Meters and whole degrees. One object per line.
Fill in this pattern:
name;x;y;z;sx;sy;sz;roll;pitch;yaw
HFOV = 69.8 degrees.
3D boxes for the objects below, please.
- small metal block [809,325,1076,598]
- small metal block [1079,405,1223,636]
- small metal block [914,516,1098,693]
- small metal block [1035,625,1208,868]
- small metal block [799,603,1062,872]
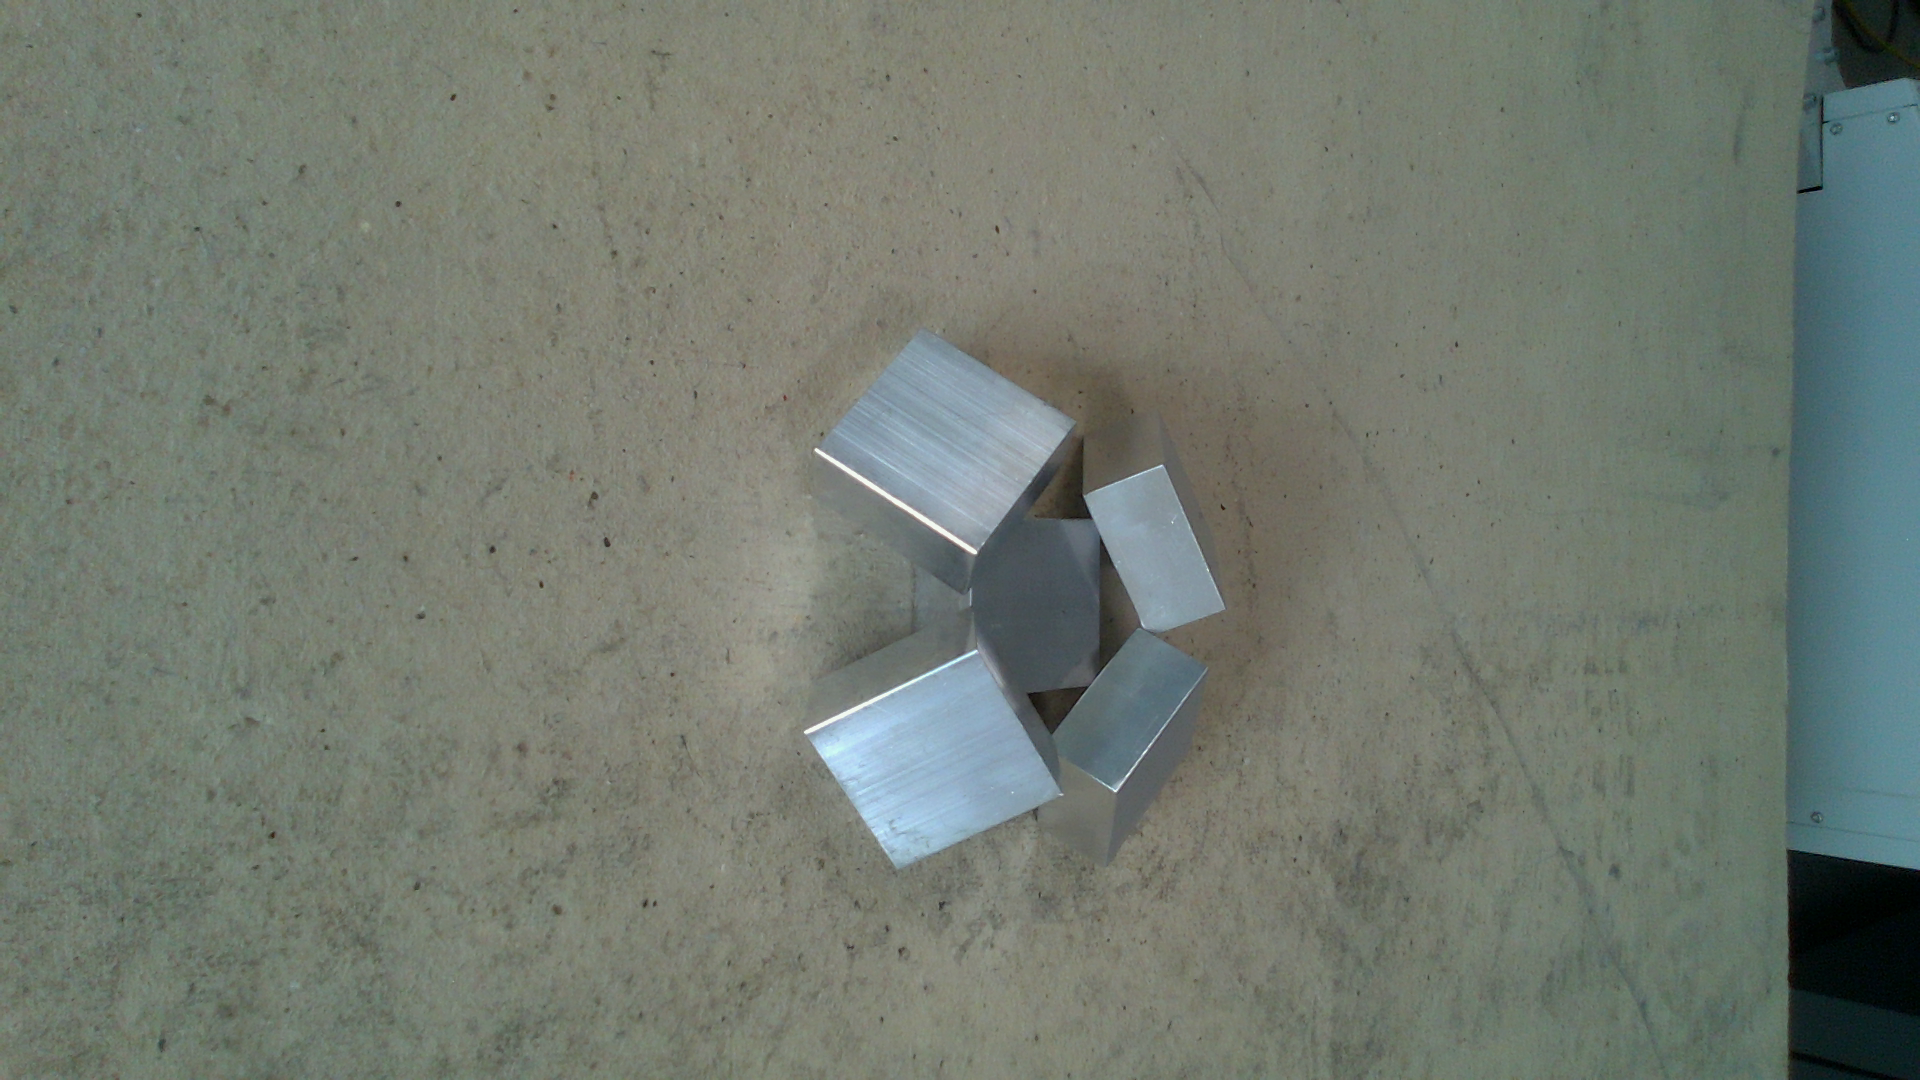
small metal block;-0.005;-0.022;0.369;0.050;0.025;0.050;33;62;9
small metal block;0.058;-0.007;0.422;0.050;0.025;0.050;-80;147;-65
small metal block;0.014;0.018;0.401;0.050;0.025;0.050;0;90;-41
small metal block;0.048;0.062;0.413;0.050;0.025;0.050;-48;156;-29
small metal block;-0.007;0.053;0.366;0.050;0.025;0.050;-26;113;9
